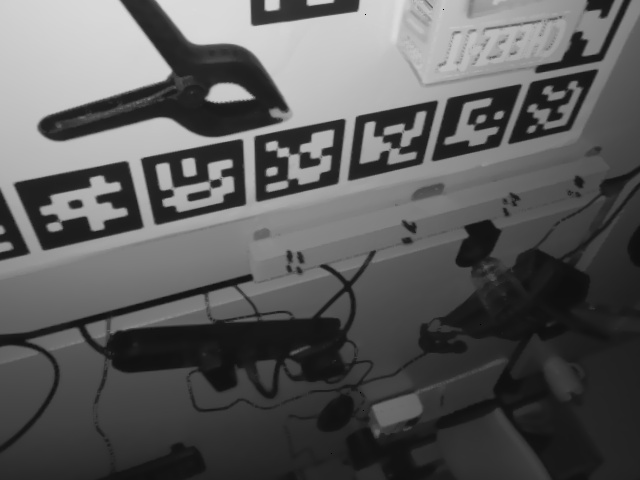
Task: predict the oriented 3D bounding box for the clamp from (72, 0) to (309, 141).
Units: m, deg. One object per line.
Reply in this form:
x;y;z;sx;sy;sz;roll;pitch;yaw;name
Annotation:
-0.095;-0.135;0.627;0.206;0.037;0.163;9;134;-39;clamp

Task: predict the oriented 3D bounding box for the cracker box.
0.188;-0.243;0.612;0.166;0.072;0.211;-13;144;-18;cracker box
